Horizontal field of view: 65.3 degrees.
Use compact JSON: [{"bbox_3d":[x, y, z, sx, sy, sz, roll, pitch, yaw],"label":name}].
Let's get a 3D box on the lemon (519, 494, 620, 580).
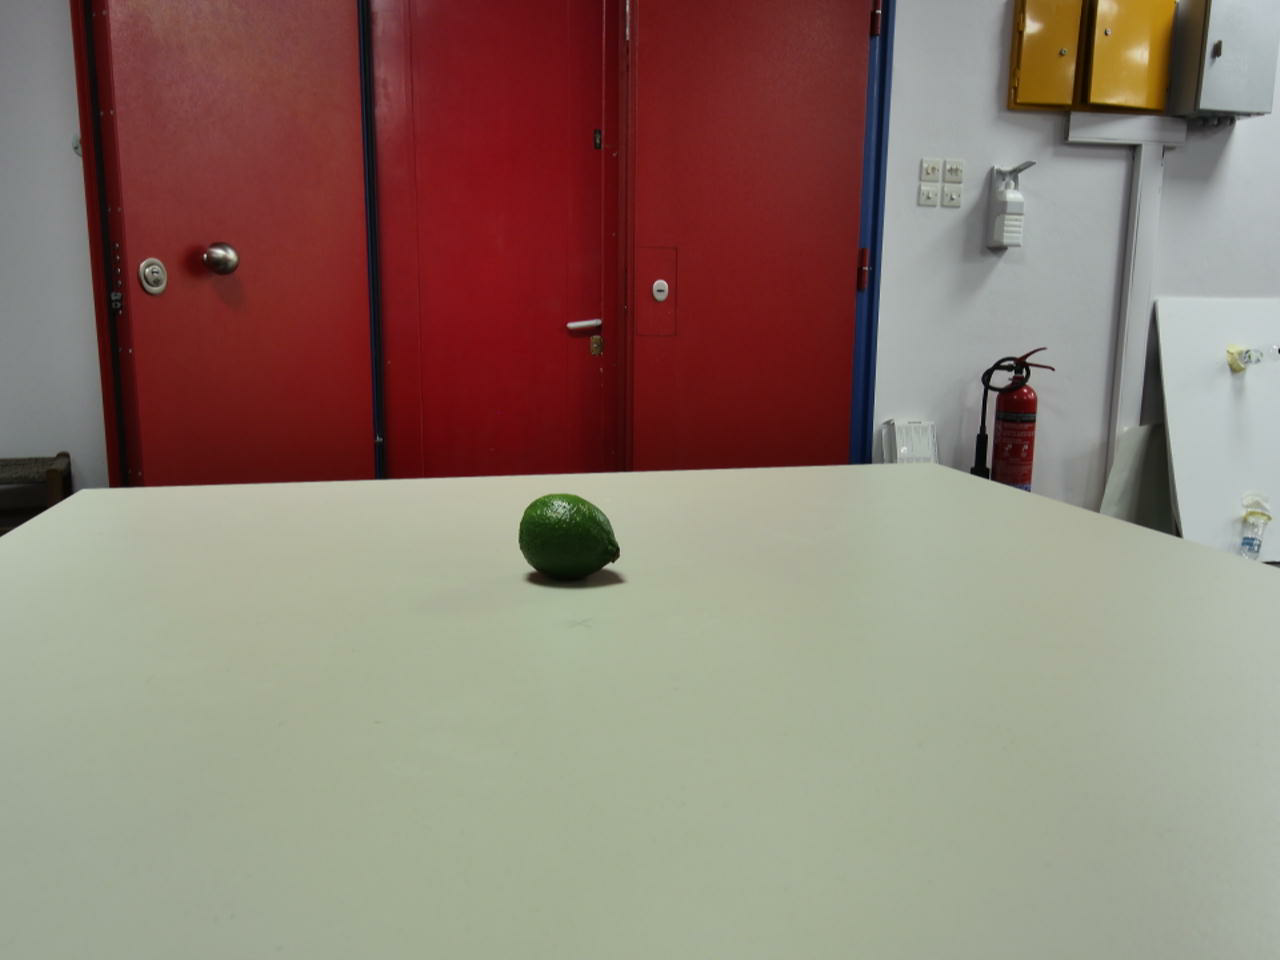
[{"bbox_3d":[-0.045,0.033,0.602,0.057,0.051,0.054,-3,8,-16],"label":"lemon"}]
